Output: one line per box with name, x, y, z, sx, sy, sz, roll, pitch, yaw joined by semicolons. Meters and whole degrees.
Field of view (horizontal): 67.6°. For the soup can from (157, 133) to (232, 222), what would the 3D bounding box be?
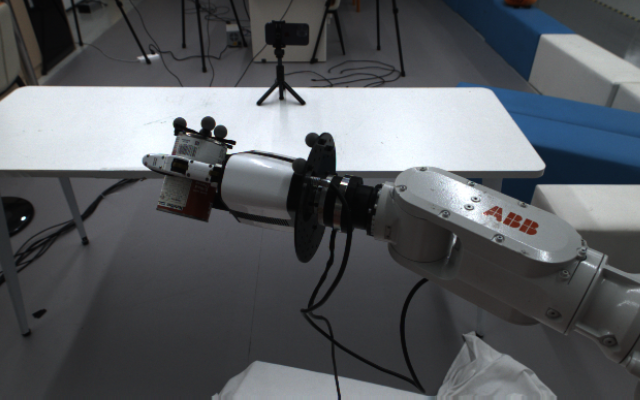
soup can;-0.162;-0.027;0.619;0.067;0.101;0.067;13;-6;1
